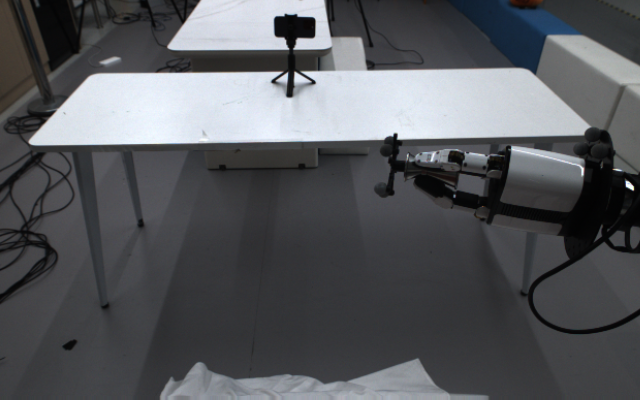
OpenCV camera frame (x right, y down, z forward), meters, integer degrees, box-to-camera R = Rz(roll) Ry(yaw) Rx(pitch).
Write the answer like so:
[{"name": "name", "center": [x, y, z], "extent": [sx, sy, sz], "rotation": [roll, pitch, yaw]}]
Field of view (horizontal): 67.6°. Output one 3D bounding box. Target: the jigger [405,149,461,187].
[{"name": "jigger", "center": [0.153, -0.043, 0.633], "extent": [0.071, 0.043, 0.043], "rotation": [8, 35, 14]}]
